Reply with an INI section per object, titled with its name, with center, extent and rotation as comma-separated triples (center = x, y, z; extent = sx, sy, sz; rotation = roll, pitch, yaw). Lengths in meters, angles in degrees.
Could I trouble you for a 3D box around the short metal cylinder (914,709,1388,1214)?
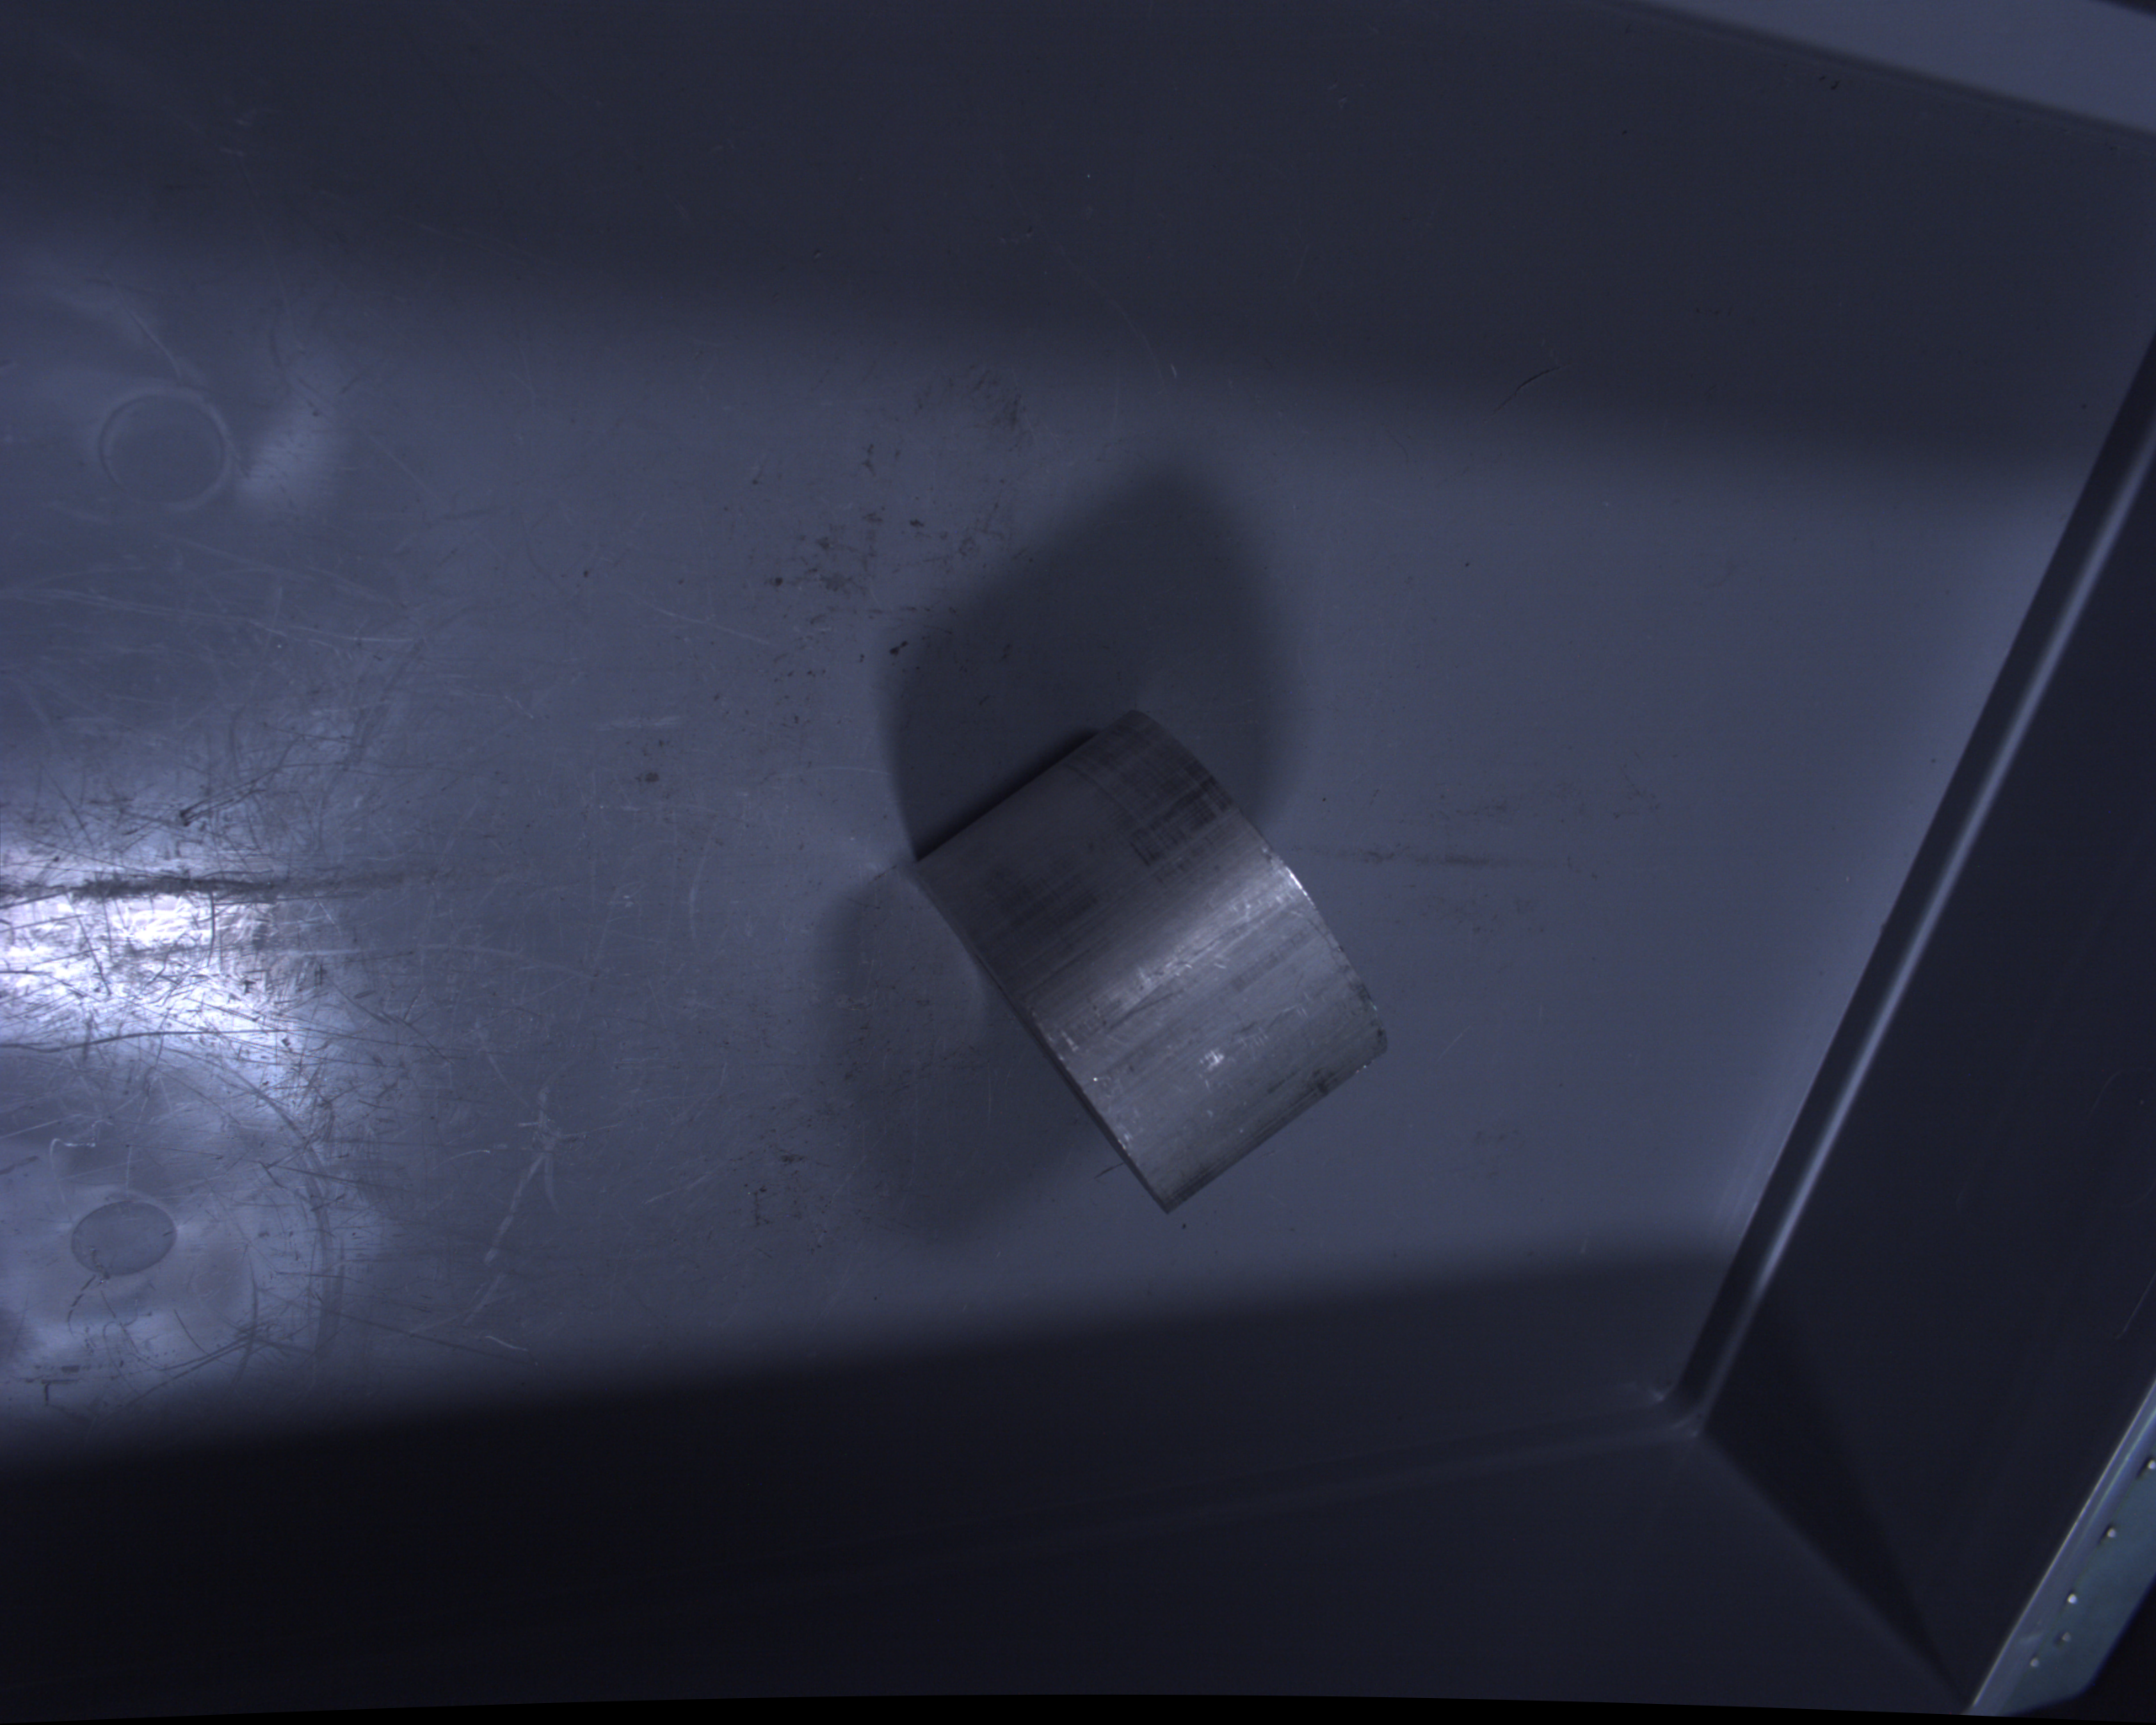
[short metal cylinder]
center = 0.013, 0.018, 0.390
extent = 0.050, 0.080, 0.080
rotation = -36, 130, -5
